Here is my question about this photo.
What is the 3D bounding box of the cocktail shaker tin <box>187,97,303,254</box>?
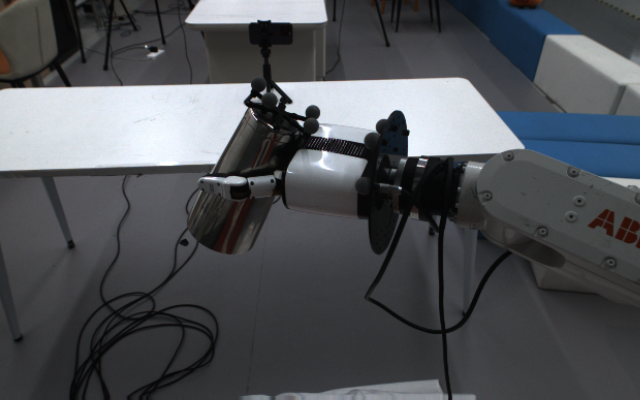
[{"bbox_3d":[-0.087,-0.031,0.586,0.093,0.170,0.093,25,29,-15],"label":"cocktail shaker tin"}]
